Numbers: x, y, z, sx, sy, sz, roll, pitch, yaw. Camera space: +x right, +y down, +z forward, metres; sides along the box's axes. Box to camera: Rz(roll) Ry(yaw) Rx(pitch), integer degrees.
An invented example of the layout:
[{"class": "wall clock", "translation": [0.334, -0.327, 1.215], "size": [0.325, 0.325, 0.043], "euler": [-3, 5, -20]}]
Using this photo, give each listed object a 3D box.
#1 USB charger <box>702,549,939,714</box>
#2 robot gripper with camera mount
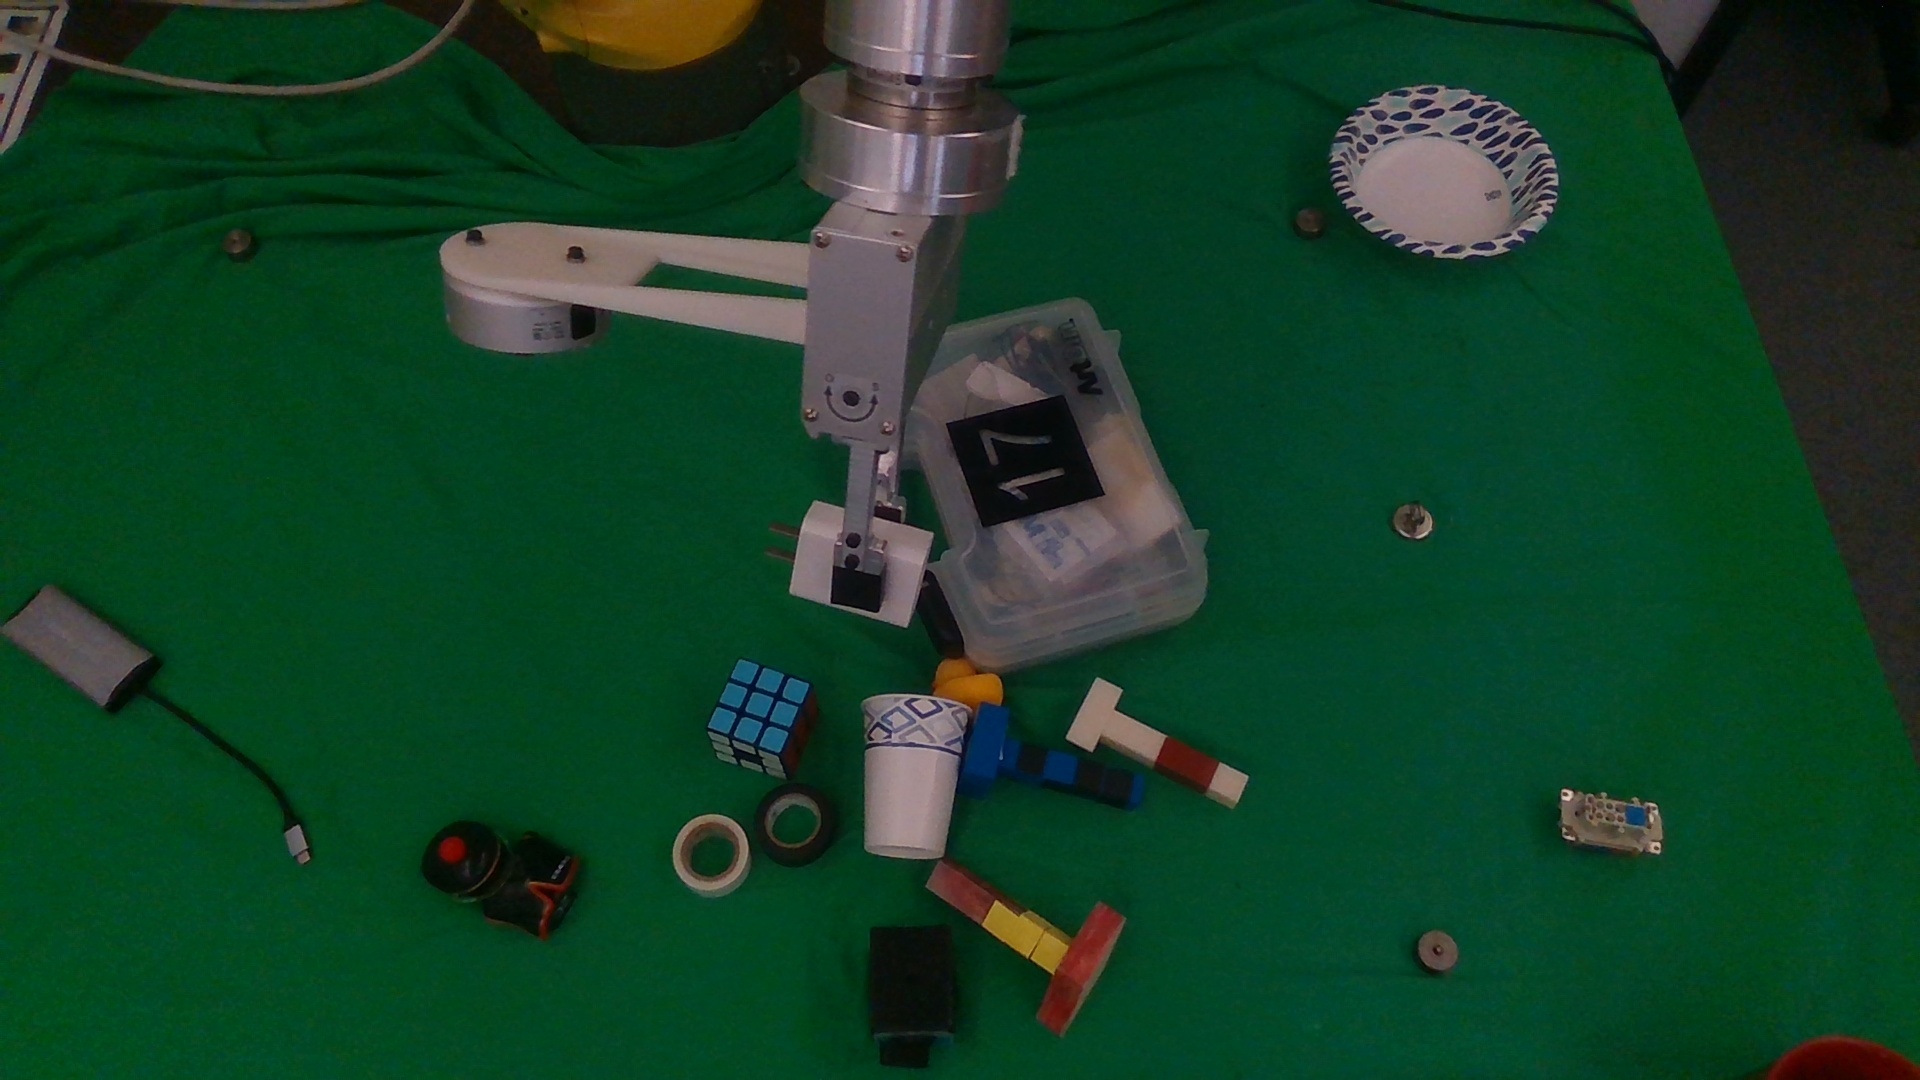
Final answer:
[{"class": "USB charger", "translation": [-0.049, 0.028, 0.472], "size": [0.075, 0.045, 0.029], "euler": [17, 24, -4]}, {"class": "robot gripper with camera mount", "translation": [-0.099, -0.039, 0.447], "size": [0.193, 0.158, 0.119], "euler": [12, 30, 8]}]
